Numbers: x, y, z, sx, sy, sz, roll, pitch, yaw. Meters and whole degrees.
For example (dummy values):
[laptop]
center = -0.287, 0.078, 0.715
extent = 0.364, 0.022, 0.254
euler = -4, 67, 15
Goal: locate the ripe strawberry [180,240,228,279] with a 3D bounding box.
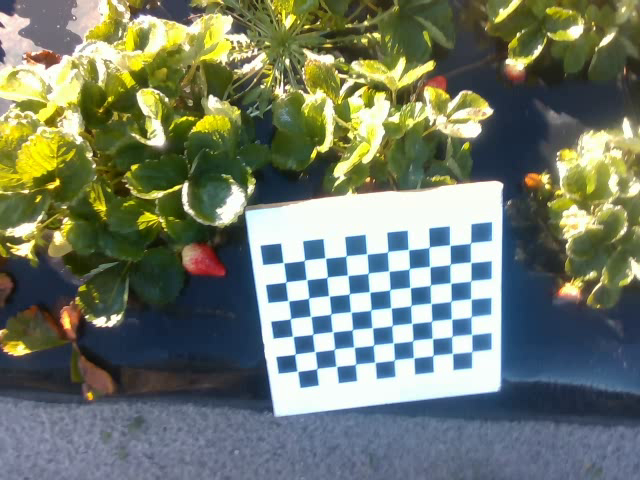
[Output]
[ripe strawberry]
center = -0.144, 0.033, 0.716
extent = 0.065, 0.040, 0.040
euler = 34, 11, -14
